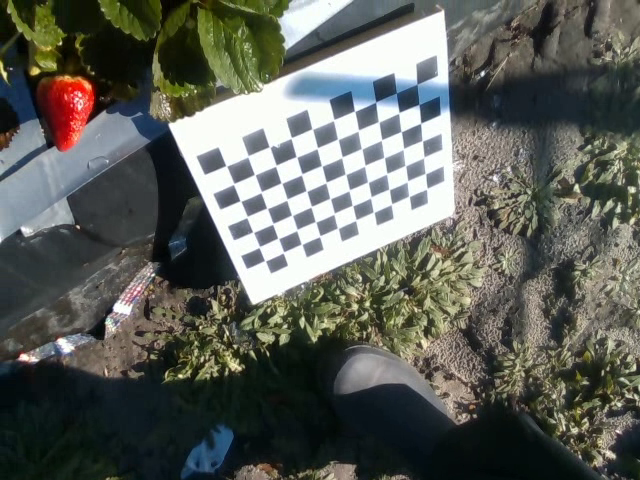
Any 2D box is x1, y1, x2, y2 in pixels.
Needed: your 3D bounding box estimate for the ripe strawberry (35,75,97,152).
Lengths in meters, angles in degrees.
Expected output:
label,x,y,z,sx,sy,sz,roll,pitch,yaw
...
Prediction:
label,x,y,z,sx,sy,sz,roll,pitch,yaw
ripe strawberry,-0.228,-0.113,0.551,0.061,0.065,0.058,0,-7,-31
